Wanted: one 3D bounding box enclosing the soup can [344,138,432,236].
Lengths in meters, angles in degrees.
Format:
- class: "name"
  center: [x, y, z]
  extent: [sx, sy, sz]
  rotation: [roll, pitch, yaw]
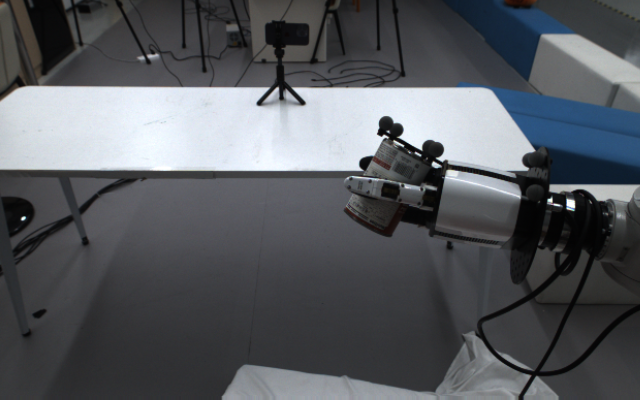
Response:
- class: "soup can"
  center: [0.083, -0.016, 0.588]
  extent: [0.067, 0.101, 0.067]
  rotation: [27, 10, -5]
